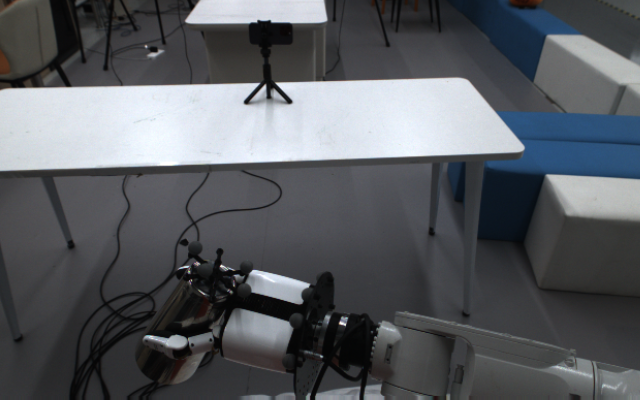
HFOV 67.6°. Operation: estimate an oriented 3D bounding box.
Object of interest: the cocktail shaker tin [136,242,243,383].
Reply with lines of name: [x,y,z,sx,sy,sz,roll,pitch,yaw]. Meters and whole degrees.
cocktail shaker tin: [-0.174,0.154,0.645,0.093,0.170,0.093,25,32,-18]
